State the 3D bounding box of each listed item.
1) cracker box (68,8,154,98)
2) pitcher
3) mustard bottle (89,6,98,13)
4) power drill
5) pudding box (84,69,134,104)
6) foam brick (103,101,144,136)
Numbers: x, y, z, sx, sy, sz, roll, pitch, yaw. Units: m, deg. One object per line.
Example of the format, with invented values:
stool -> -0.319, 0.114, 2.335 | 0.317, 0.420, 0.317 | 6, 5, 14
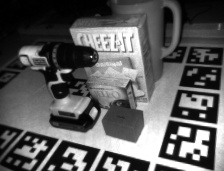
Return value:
cracker box -> 0.005, -0.068, 0.537 | 0.162, 0.215, 0.072 | 3, 42, 24
pitcher -> 0.085, -0.135, 0.582 | 0.186, 0.245, 0.134 | 10, 46, 30
mustard bottle -> -0.033, -0.139, 0.641 | 0.095, 0.193, 0.059 | 17, 51, 33
power drill -> -0.102, -0.013, 0.483 | 0.182, 0.188, 0.057 | 5, 41, 22
pudding box -> -0.008, 0.003, 0.543 | 0.112, 0.091, 0.039 | 5, 43, 26
foam brick -> 0.027, 0.076, 0.500 | 0.077, 0.052, 0.053 | 8, 47, 25
